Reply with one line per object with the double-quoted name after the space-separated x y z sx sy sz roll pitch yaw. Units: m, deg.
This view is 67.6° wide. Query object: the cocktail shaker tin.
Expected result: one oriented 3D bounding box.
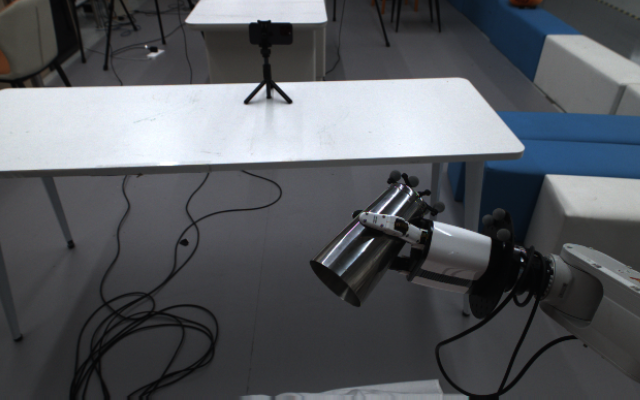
0.076 0.051 0.683 0.093 0.093 0.170 31 66 35 "cocktail shaker tin"
